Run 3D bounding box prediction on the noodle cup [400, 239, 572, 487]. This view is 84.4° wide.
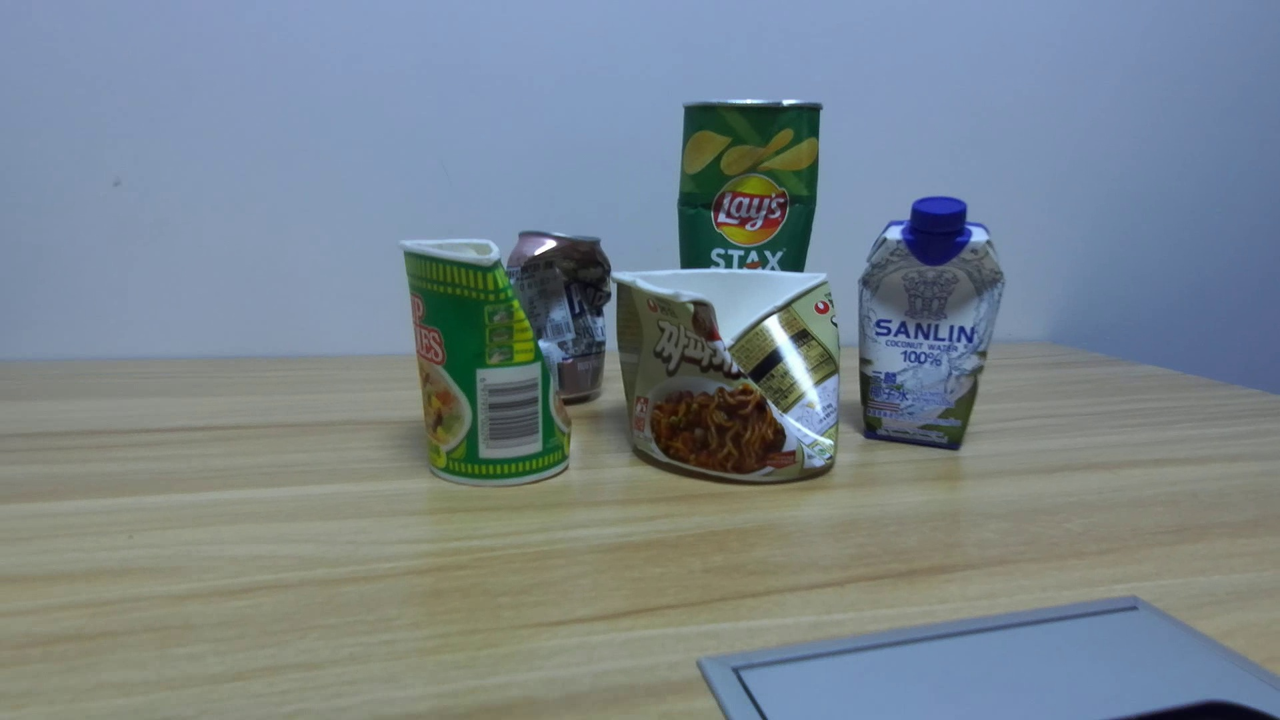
[{"bbox_3d":[-0.072,-0.001,0.348,0.075,0.122,0.083,-2,18,23],"label":"noodle cup"}]

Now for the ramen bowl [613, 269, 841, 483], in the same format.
[{"bbox_3d":[0.050,0.001,0.389,0.137,0.098,0.137,2,10,0],"label":"ramen bowl"}]

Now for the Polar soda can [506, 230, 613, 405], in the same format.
[{"bbox_3d":[-0.055,-0.030,0.479,0.070,0.114,0.074,7,16,-3],"label":"Polar soda can"}]

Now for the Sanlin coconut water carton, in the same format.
[{"bbox_3d":[0.167,-0.022,0.413,0.078,0.142,0.058,6,19,19],"label":"Sanlin coconut water carton"}]

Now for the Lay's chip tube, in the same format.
[{"bbox_3d":[0.072,-0.075,0.494,0.075,0.199,0.068,-8,16,-34],"label":"Lay's chip tube"}]
